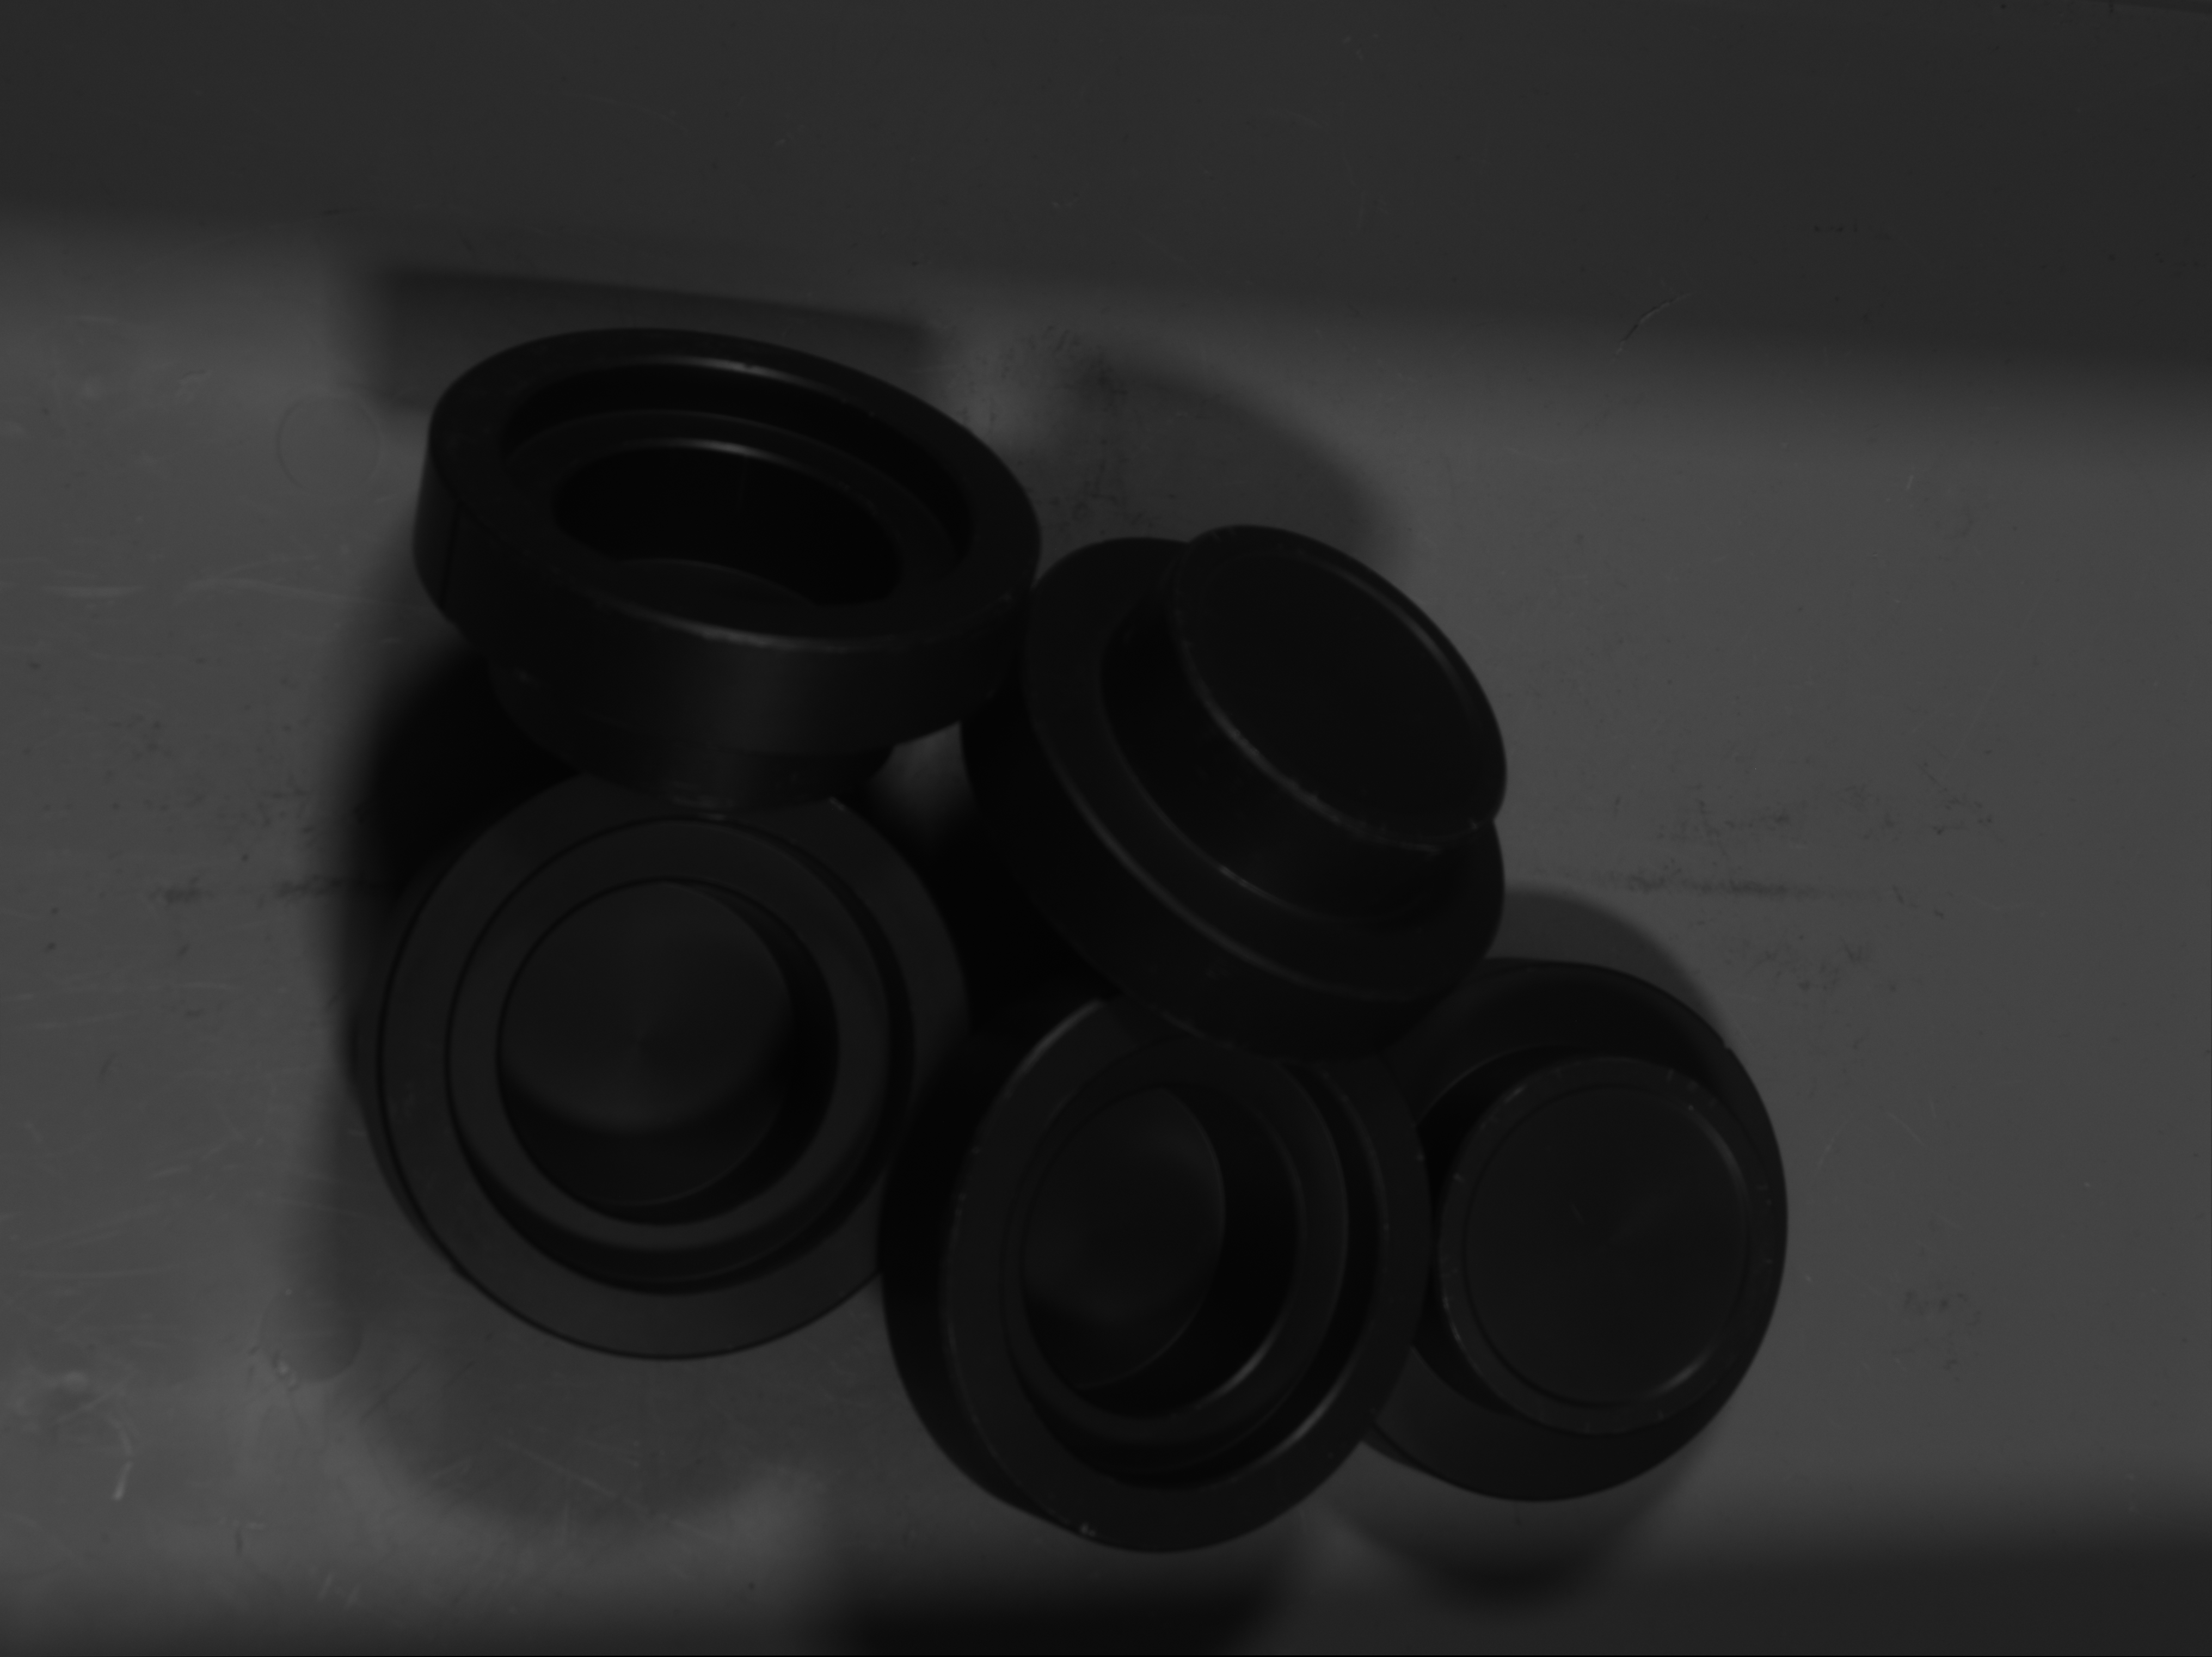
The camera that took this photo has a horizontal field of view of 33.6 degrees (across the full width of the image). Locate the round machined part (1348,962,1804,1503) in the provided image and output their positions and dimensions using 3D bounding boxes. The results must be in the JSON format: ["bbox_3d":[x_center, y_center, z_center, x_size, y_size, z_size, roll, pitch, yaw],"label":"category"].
[{"bbox_3d":[0.084,0.073,0.663,0.098,0.042,0.098,0,90,-20],"label":"round machined part"}]

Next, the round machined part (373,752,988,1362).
[{"bbox_3d":[-0.072,0.037,0.606,0.098,0.042,0.098,0,90,-20],"label":"round machined part"}]

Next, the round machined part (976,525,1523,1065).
[{"bbox_3d":[0.031,-0.012,0.615,0.098,0.042,0.098,24,40,-21],"label":"round machined part"}]

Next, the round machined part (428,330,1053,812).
[{"bbox_3d":[-0.061,-0.039,0.592,0.098,0.098,0.042,3,124,-20],"label":"round machined part"}]

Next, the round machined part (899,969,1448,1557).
[{"bbox_3d":[0.007,0.070,0.623,0.098,0.042,0.098,-4,98,-32],"label":"round machined part"}]
